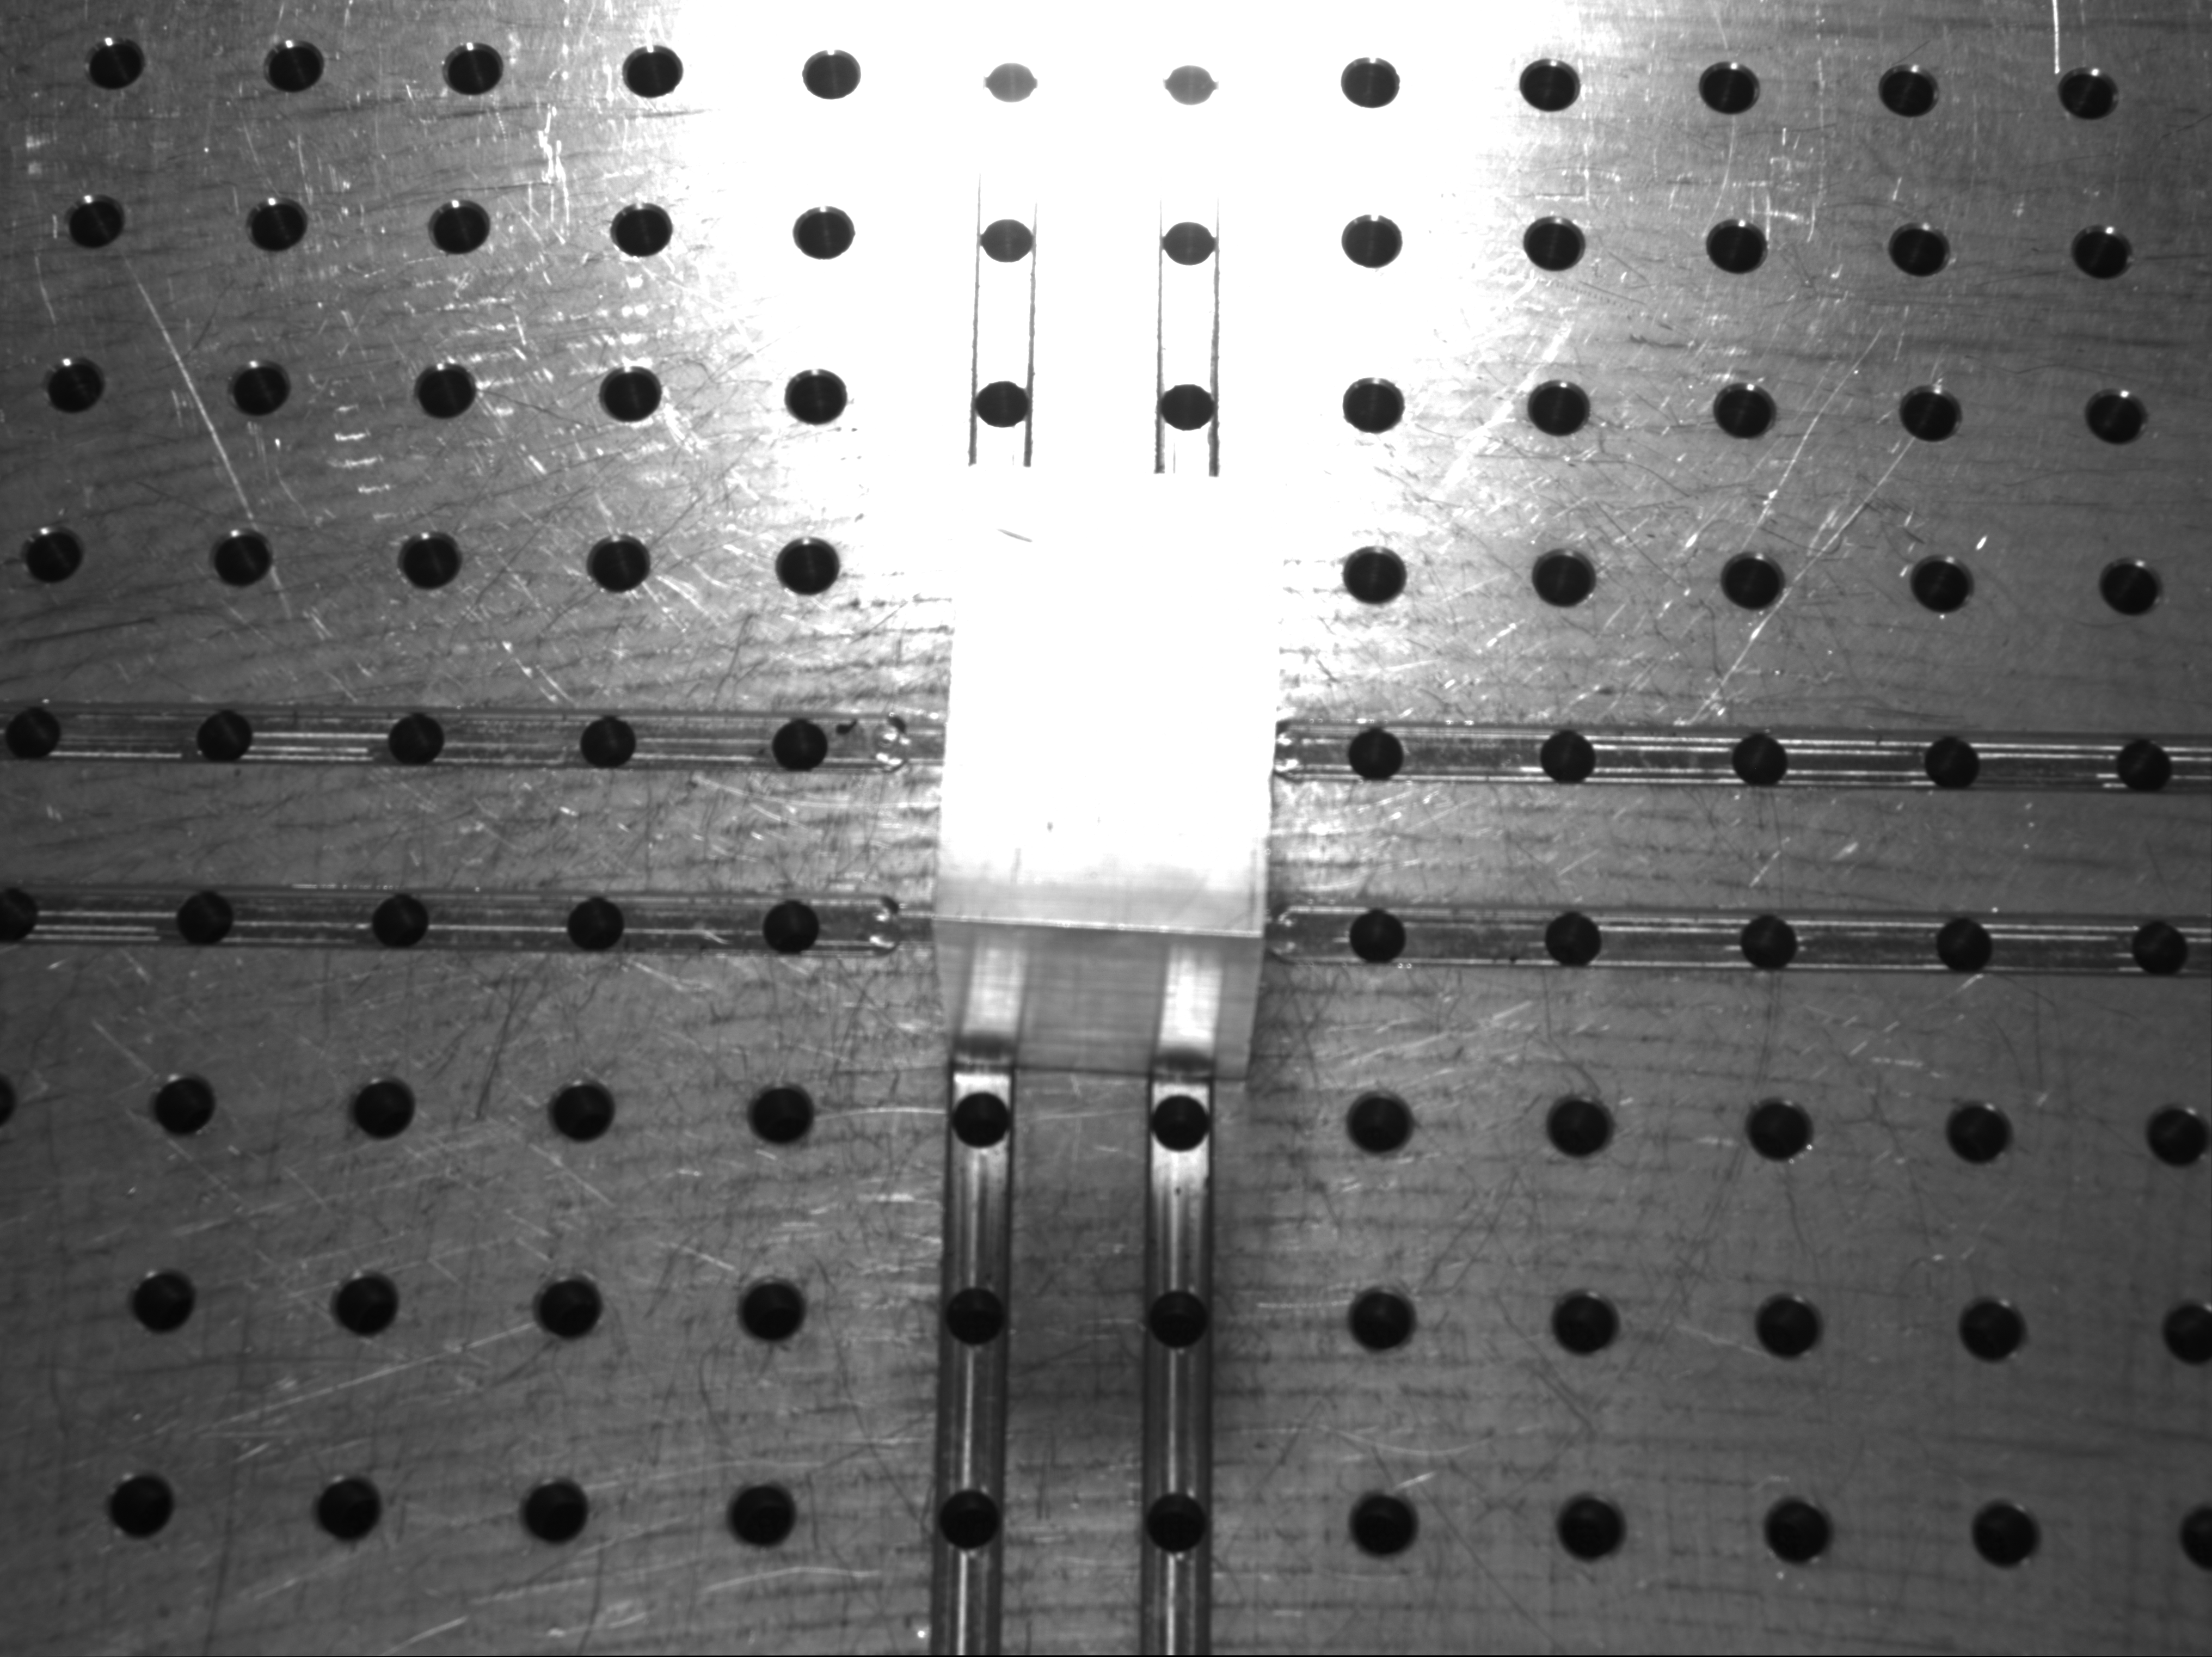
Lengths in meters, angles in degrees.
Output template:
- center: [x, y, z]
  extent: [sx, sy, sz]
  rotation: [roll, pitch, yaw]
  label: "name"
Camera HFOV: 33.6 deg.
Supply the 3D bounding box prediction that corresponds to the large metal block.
- center: [0.004, -0.007, 0.620]
  extent: [0.050, 0.080, 0.080]
  rotation: [3, 70, 1]
  label: "large metal block"
